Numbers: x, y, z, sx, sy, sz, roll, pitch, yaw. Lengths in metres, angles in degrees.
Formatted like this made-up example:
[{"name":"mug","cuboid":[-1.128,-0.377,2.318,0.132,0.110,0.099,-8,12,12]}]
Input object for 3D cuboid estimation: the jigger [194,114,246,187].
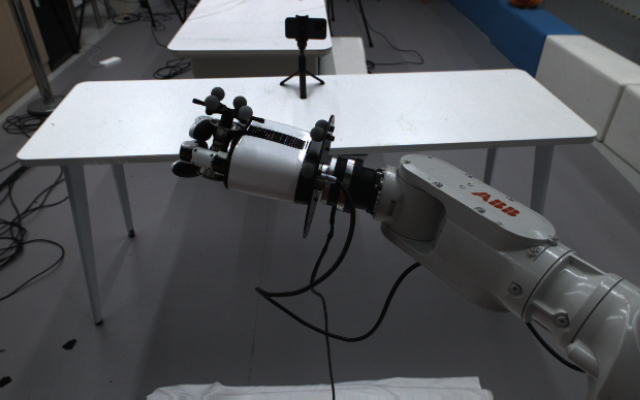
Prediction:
[{"name":"jigger","cuboid":[-0.126,-0.062,0.610,0.043,0.071,0.043,18,17,-6]}]
